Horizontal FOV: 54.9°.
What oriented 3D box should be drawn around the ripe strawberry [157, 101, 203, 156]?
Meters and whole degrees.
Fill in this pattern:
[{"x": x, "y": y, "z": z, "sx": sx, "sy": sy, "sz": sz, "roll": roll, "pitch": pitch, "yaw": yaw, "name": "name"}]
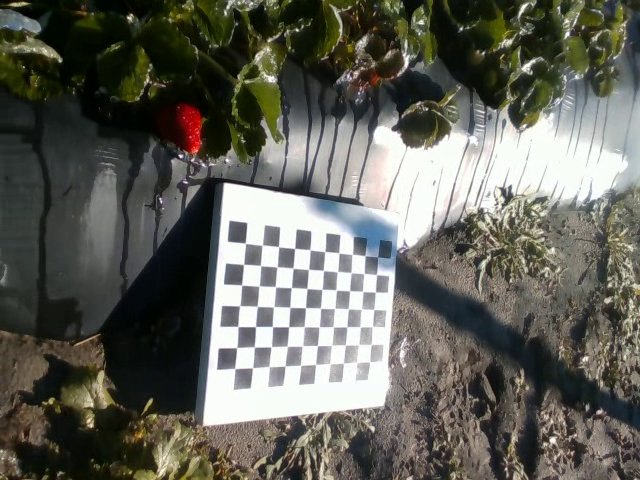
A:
[{"x": -0.112, "y": -0.092, "z": 0.507, "sx": 0.041, "sy": 0.053, "sz": 0.047, "roll": -2, "pitch": -35, "yaw": -39, "name": "ripe strawberry"}]
